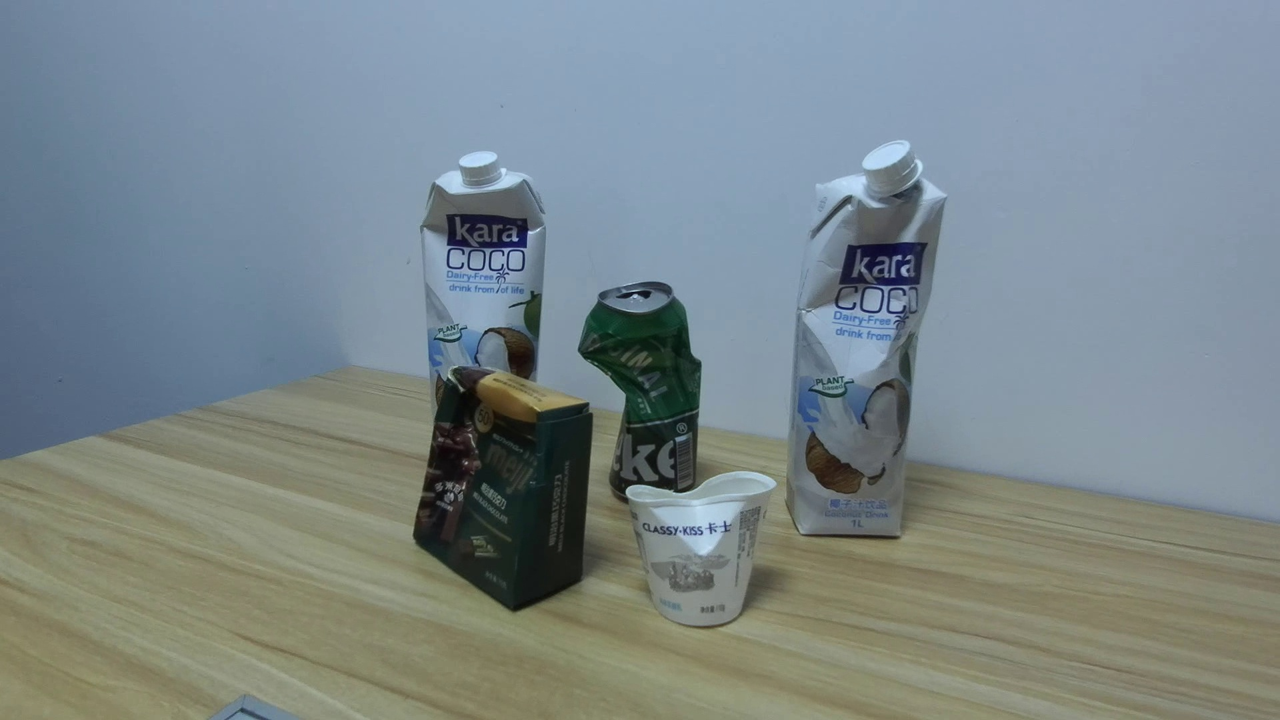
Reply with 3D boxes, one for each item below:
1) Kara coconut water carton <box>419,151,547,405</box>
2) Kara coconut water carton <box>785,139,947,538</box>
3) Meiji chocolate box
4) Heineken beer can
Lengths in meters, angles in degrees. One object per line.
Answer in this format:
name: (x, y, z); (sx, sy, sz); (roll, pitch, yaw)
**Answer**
Kara coconut water carton: (-0.122, -0.038, 0.565); (0.100, 0.244, 0.071); (-1, 12, -3)
Kara coconut water carton: (0.144, -0.010, 0.468); (0.083, 0.255, 0.078); (6, 16, 12)
Meiji chocolate box: (-0.081, 0.070, 0.424); (0.058, 0.110, 0.112); (-2, 14, -45)
Heineken beer can: (0.007, 0.025, 0.515); (0.067, 0.159, 0.079); (4, 19, 27)
